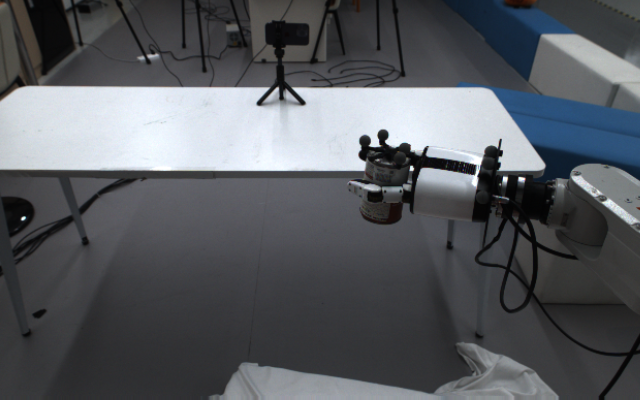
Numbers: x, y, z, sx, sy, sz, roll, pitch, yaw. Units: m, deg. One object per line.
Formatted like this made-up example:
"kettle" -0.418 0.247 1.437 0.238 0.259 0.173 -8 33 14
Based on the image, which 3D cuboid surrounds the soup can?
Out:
"soup can" 0.100 -0.022 0.743 0.067 0.101 0.067 4 30 -2
